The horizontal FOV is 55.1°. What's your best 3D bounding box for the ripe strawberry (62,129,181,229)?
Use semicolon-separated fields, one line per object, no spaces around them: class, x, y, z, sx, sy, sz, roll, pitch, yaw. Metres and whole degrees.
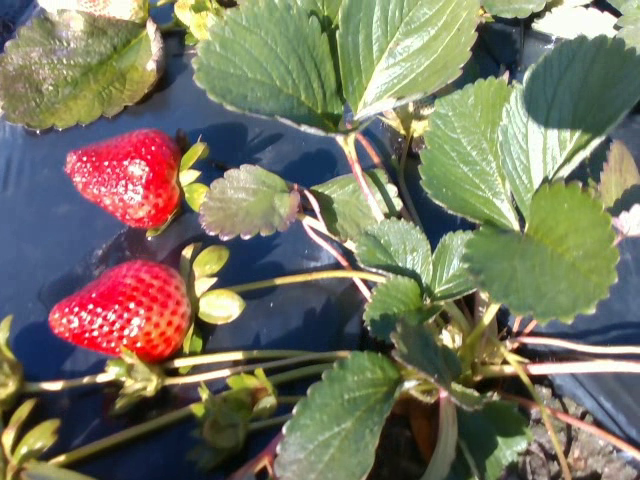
ripe strawberry;-0.082;-0.029;0.247;0.050;0.050;0.044;16;-32;-18

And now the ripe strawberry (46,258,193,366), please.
ripe strawberry;-0.067;0.024;0.199;0.049;0.039;0.042;-1;8;-35
